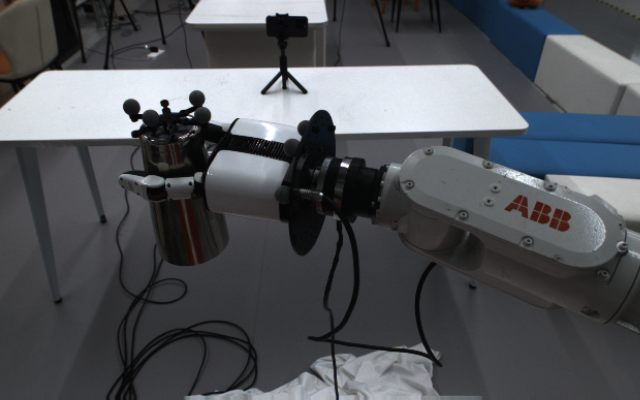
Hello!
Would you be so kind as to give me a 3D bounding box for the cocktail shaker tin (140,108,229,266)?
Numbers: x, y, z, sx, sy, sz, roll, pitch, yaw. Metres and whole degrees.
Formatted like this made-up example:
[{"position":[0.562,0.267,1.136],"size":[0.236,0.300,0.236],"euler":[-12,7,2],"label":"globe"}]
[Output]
[{"position":[-0.161,-0.016,0.580],"size":[0.093,0.170,0.093],"euler":[1,39,-1],"label":"cocktail shaker tin"}]
